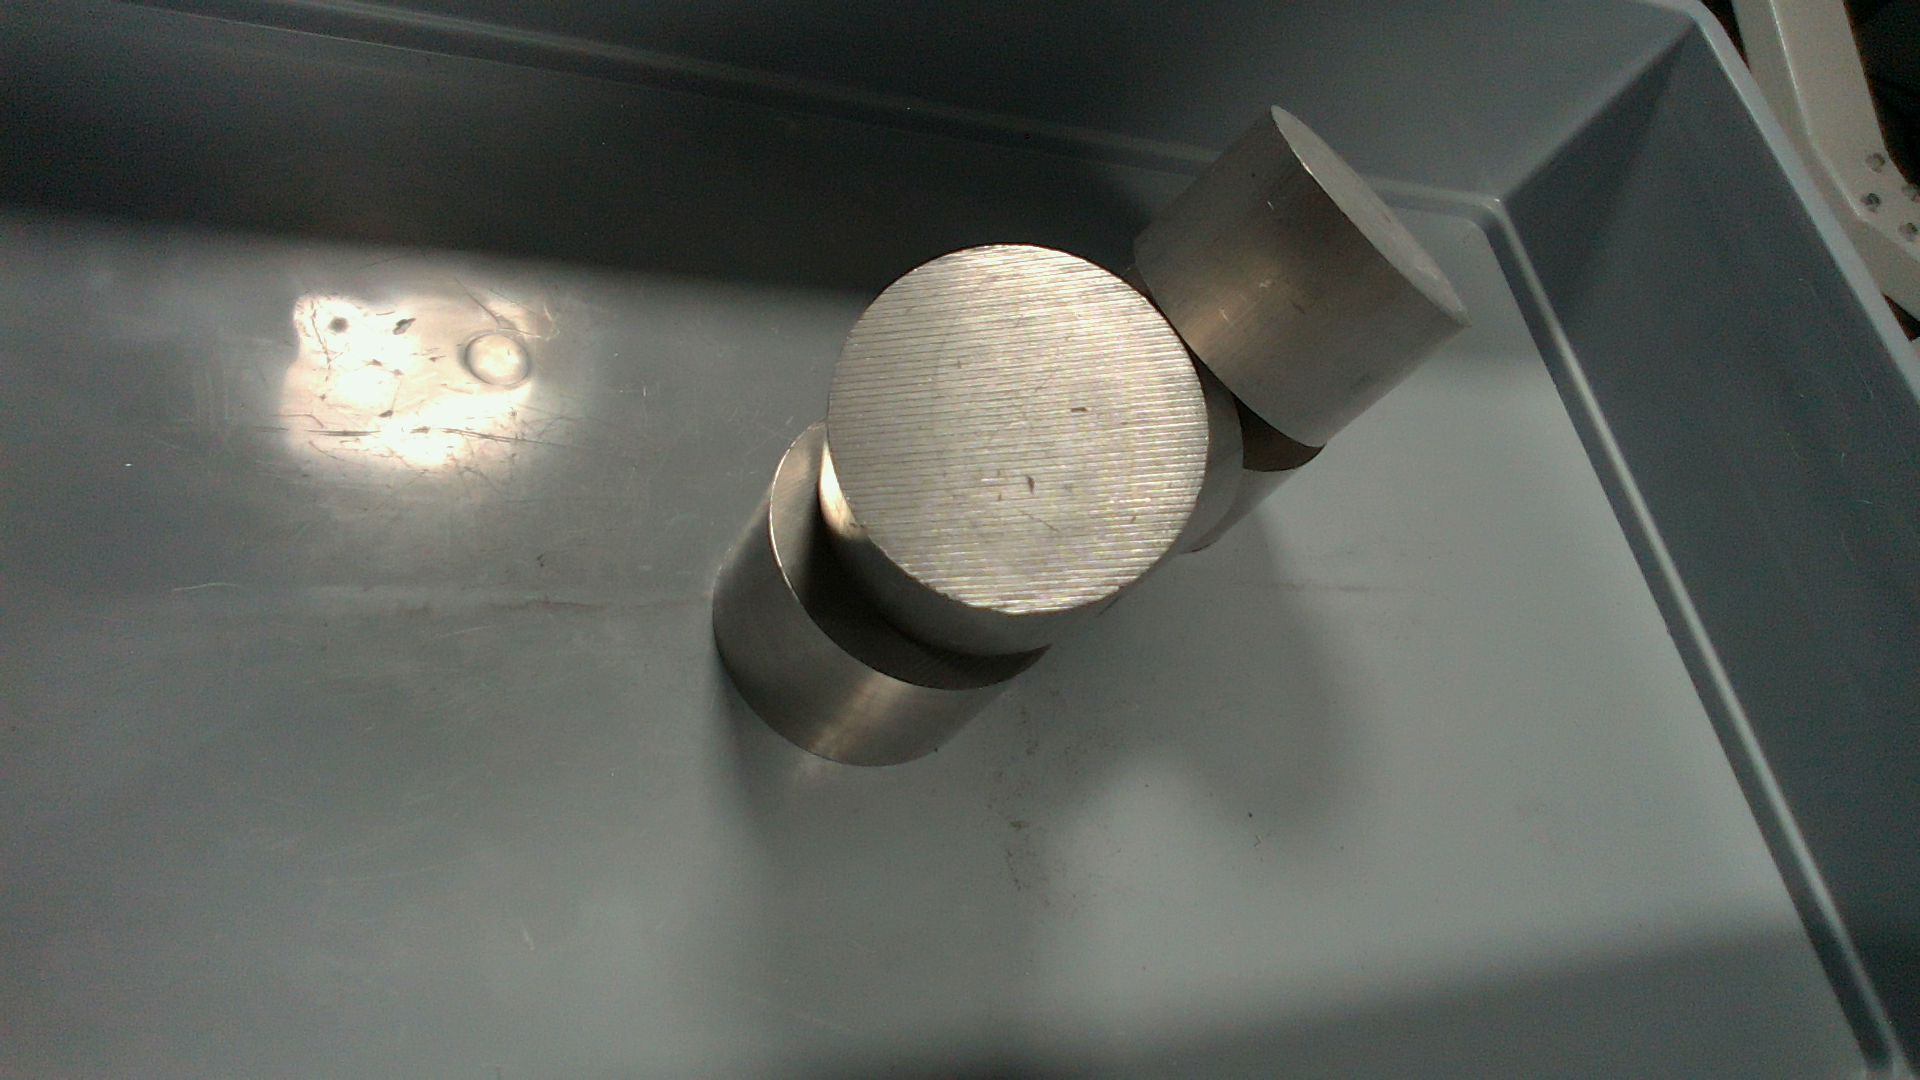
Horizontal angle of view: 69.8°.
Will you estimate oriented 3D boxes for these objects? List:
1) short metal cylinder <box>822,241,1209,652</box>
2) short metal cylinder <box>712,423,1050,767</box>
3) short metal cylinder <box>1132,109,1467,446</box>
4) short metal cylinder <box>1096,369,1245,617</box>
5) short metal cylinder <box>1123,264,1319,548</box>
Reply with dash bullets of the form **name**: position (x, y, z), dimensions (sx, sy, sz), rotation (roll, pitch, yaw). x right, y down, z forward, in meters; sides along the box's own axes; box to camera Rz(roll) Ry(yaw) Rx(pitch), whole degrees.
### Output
- **short metal cylinder**: position (0.009, -0.018, 0.305), dimensions (0.080, 0.050, 0.080), rotation (2, 75, -7)
- **short metal cylinder**: position (-0.018, 0.012, 0.355), dimensions (0.080, 0.050, 0.080), rotation (14, 56, -21)
- **short metal cylinder**: position (0.094, -0.073, 0.384), dimensions (0.080, 0.050, 0.080), rotation (35, 29, -23)
- **short metal cylinder**: position (0.032, -0.024, 0.384), dimensions (0.050, 0.080, 0.080), rotation (-33, 80, -38)
- **short metal cylinder**: position (0.069, -0.043, 0.436), dimensions (0.080, 0.050, 0.080), rotation (14, 56, -21)
